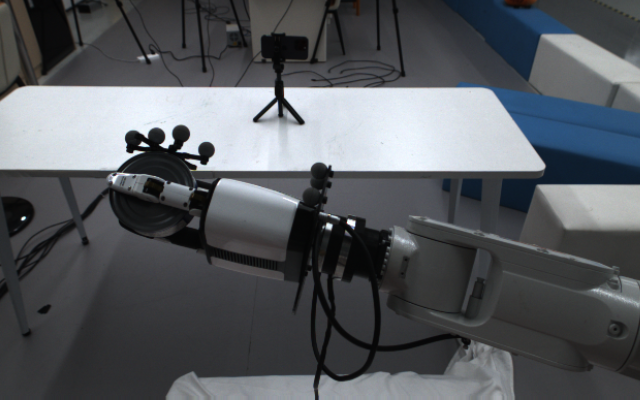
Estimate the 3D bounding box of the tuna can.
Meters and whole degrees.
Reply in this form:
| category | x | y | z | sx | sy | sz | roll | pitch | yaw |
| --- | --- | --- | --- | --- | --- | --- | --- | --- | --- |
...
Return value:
| category | x | y | z | sx | sy | sz | roll | pitch | yaw |
| --- | --- | --- | --- | --- | --- | --- | --- | --- | --- |
| tuna can | -0.170 | -0.005 | 0.506 | 0.085 | 0.034 | 0.085 | 1 | 73 | -3 |
